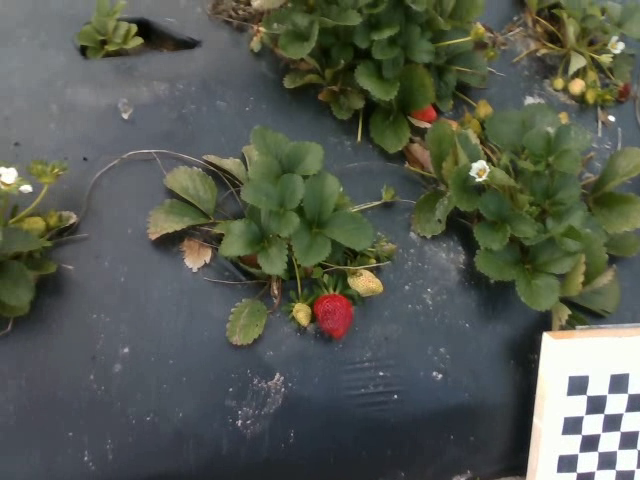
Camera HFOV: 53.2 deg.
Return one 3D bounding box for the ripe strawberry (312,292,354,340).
[{"bbox_3d":[0.016,0.084,0.660,0.046,0.046,0.059,-6,37,-6],"label":"ripe strawberry"}]
